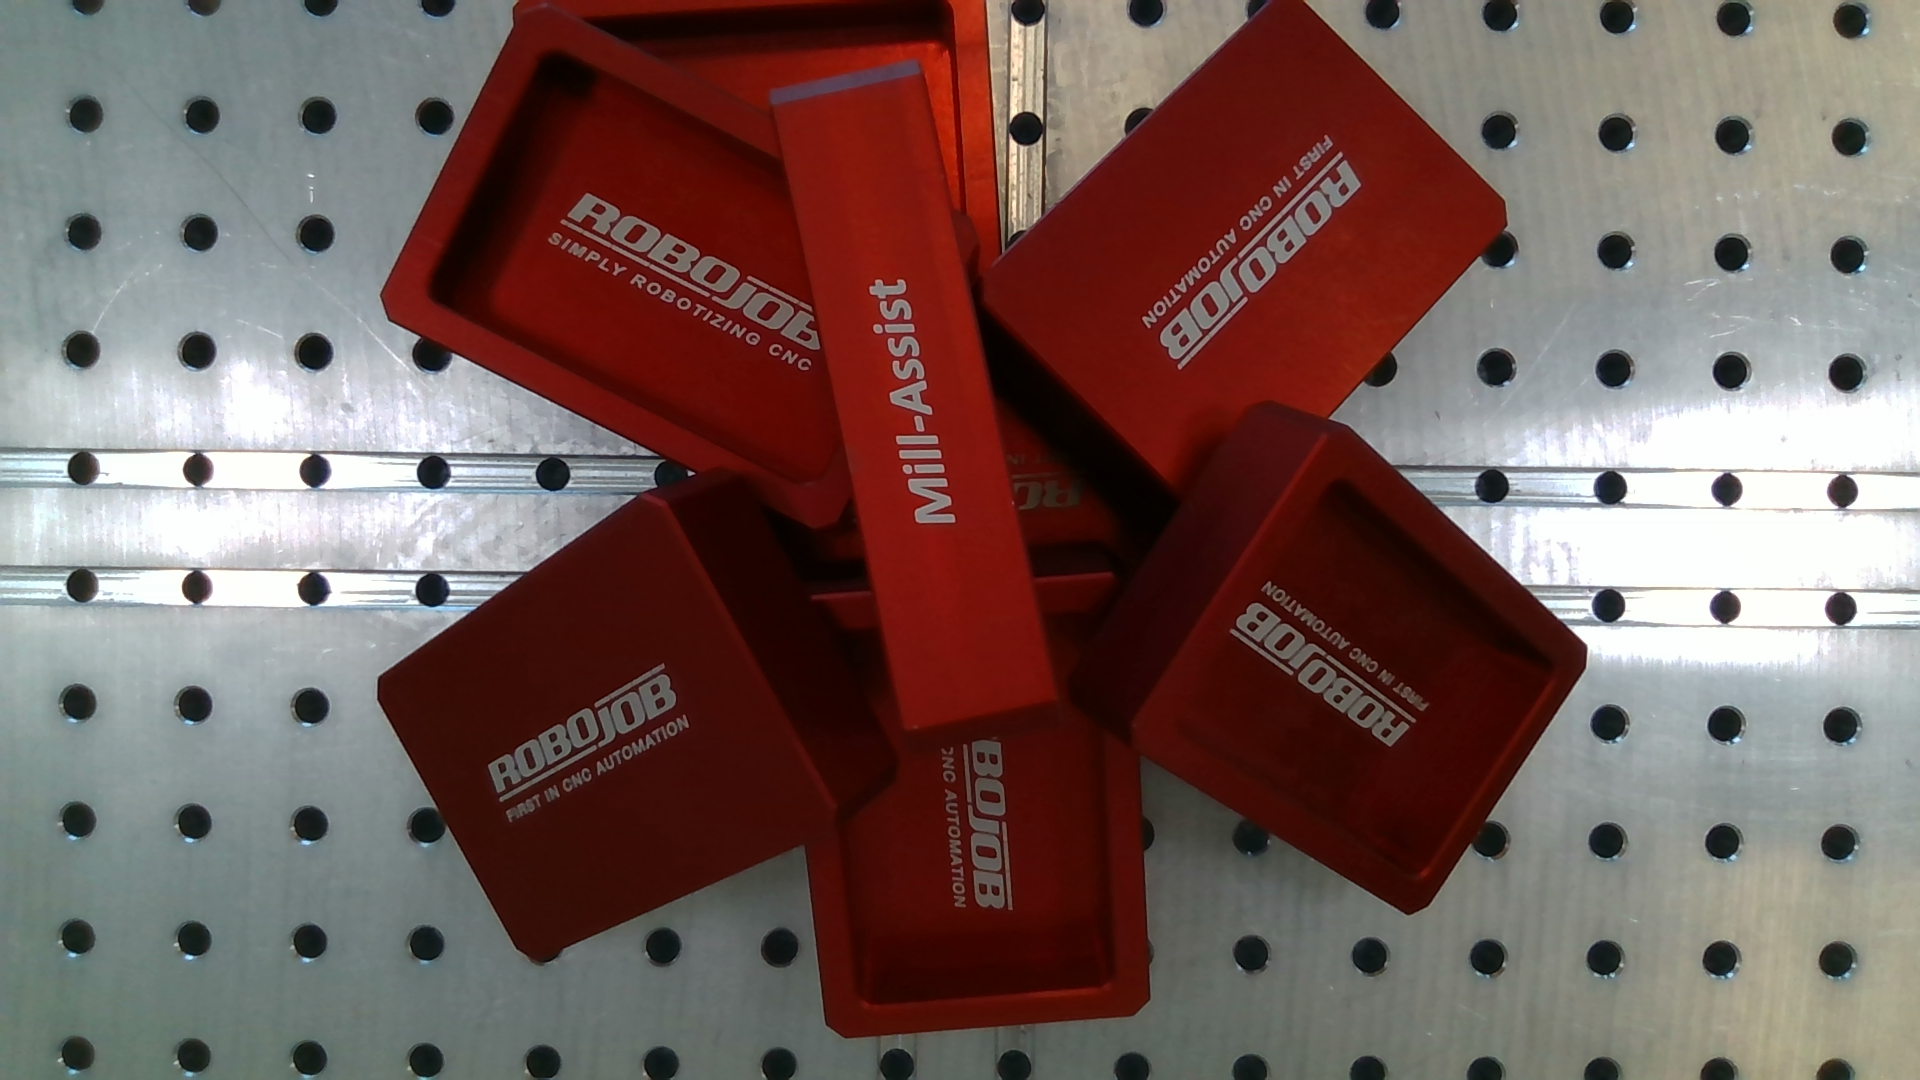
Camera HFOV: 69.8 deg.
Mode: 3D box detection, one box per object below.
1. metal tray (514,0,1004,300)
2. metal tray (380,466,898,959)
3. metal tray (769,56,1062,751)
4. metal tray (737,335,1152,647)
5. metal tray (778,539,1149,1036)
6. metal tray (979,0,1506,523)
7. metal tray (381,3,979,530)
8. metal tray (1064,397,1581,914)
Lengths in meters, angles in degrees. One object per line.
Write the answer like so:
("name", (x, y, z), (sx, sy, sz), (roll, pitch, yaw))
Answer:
("metal tray", (-0.055, -0.111, 0.395), (0.130, 0.030, 0.090), (-4, 91, -1))
("metal tray", (-0.089, 0.049, 0.362), (0.130, 0.030, 0.090), (-29, 90, 33))
("metal tray", (-0.008, -0.024, 0.300), (0.030, 0.090, 0.130), (-12, 86, 0))
("metal tray", (-0.002, -0.016, 0.395), (0.130, 0.030, 0.090), (-5, 92, -2))
("metal tray", (0.003, 0.069, 0.377), (0.090, 0.030, 0.130), (-5, 107, 0))
("metal tray", (0.076, -0.075, 0.378), (0.090, 0.030, 0.130), (45, 75, 0))
("metal tray", (-0.071, -0.069, 0.364), (0.130, 0.030, 0.090), (27, 90, 0))
("metal tray", (0.100, 0.034, 0.362), (0.130, 0.030, 0.090), (34, 90, -33))
